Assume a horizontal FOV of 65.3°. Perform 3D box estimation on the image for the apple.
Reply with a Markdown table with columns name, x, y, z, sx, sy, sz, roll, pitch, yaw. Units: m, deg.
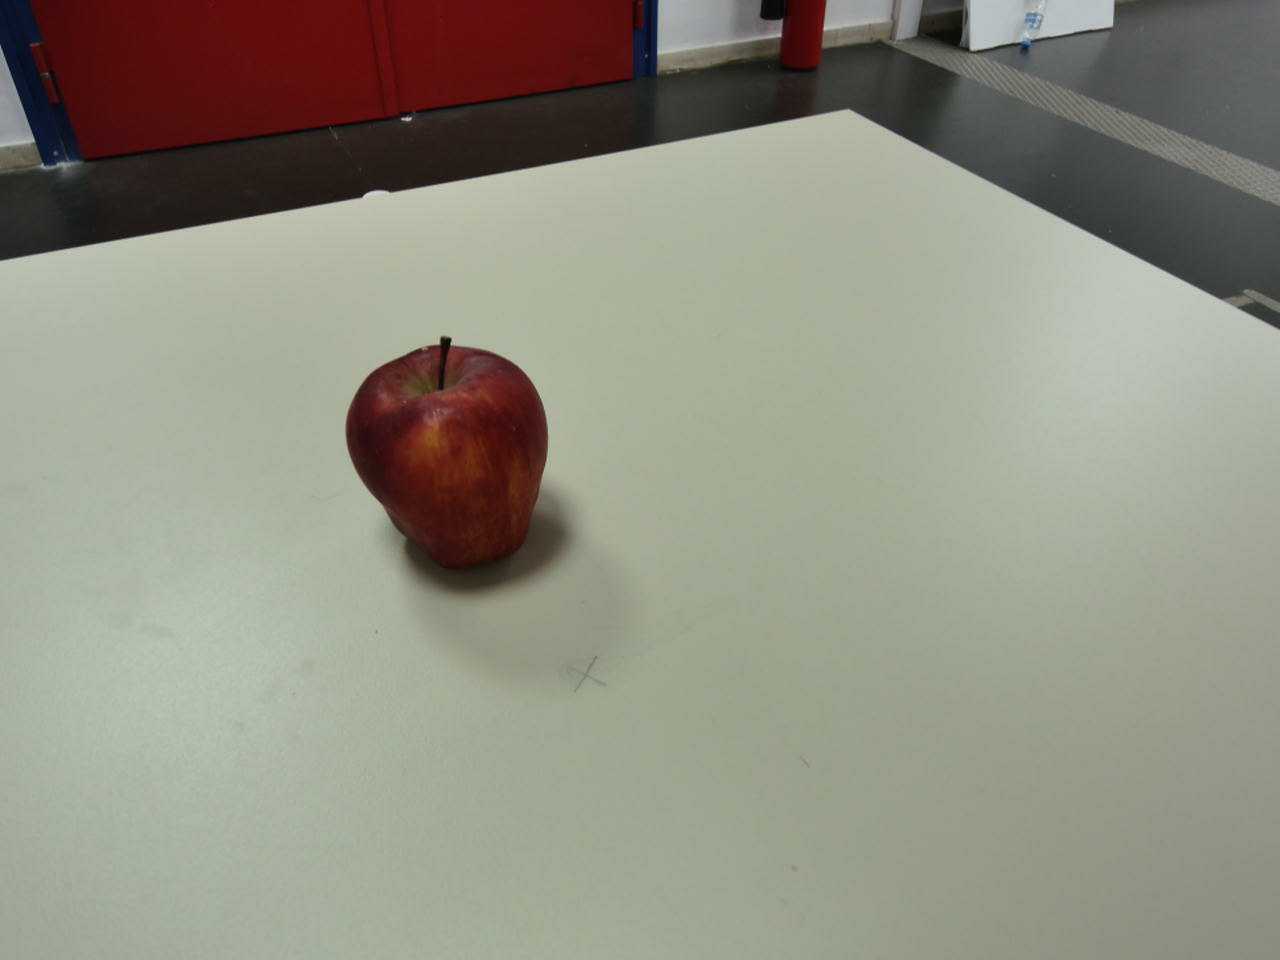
| name | x | y | z | sx | sy | sz | roll | pitch | yaw |
| --- | --- | --- | --- | --- | --- | --- | --- | --- | --- |
| apple | -0.075 | -0.015 | 0.395 | 0.083 | 0.090 | 0.083 | 0 | 38 | 0 |
